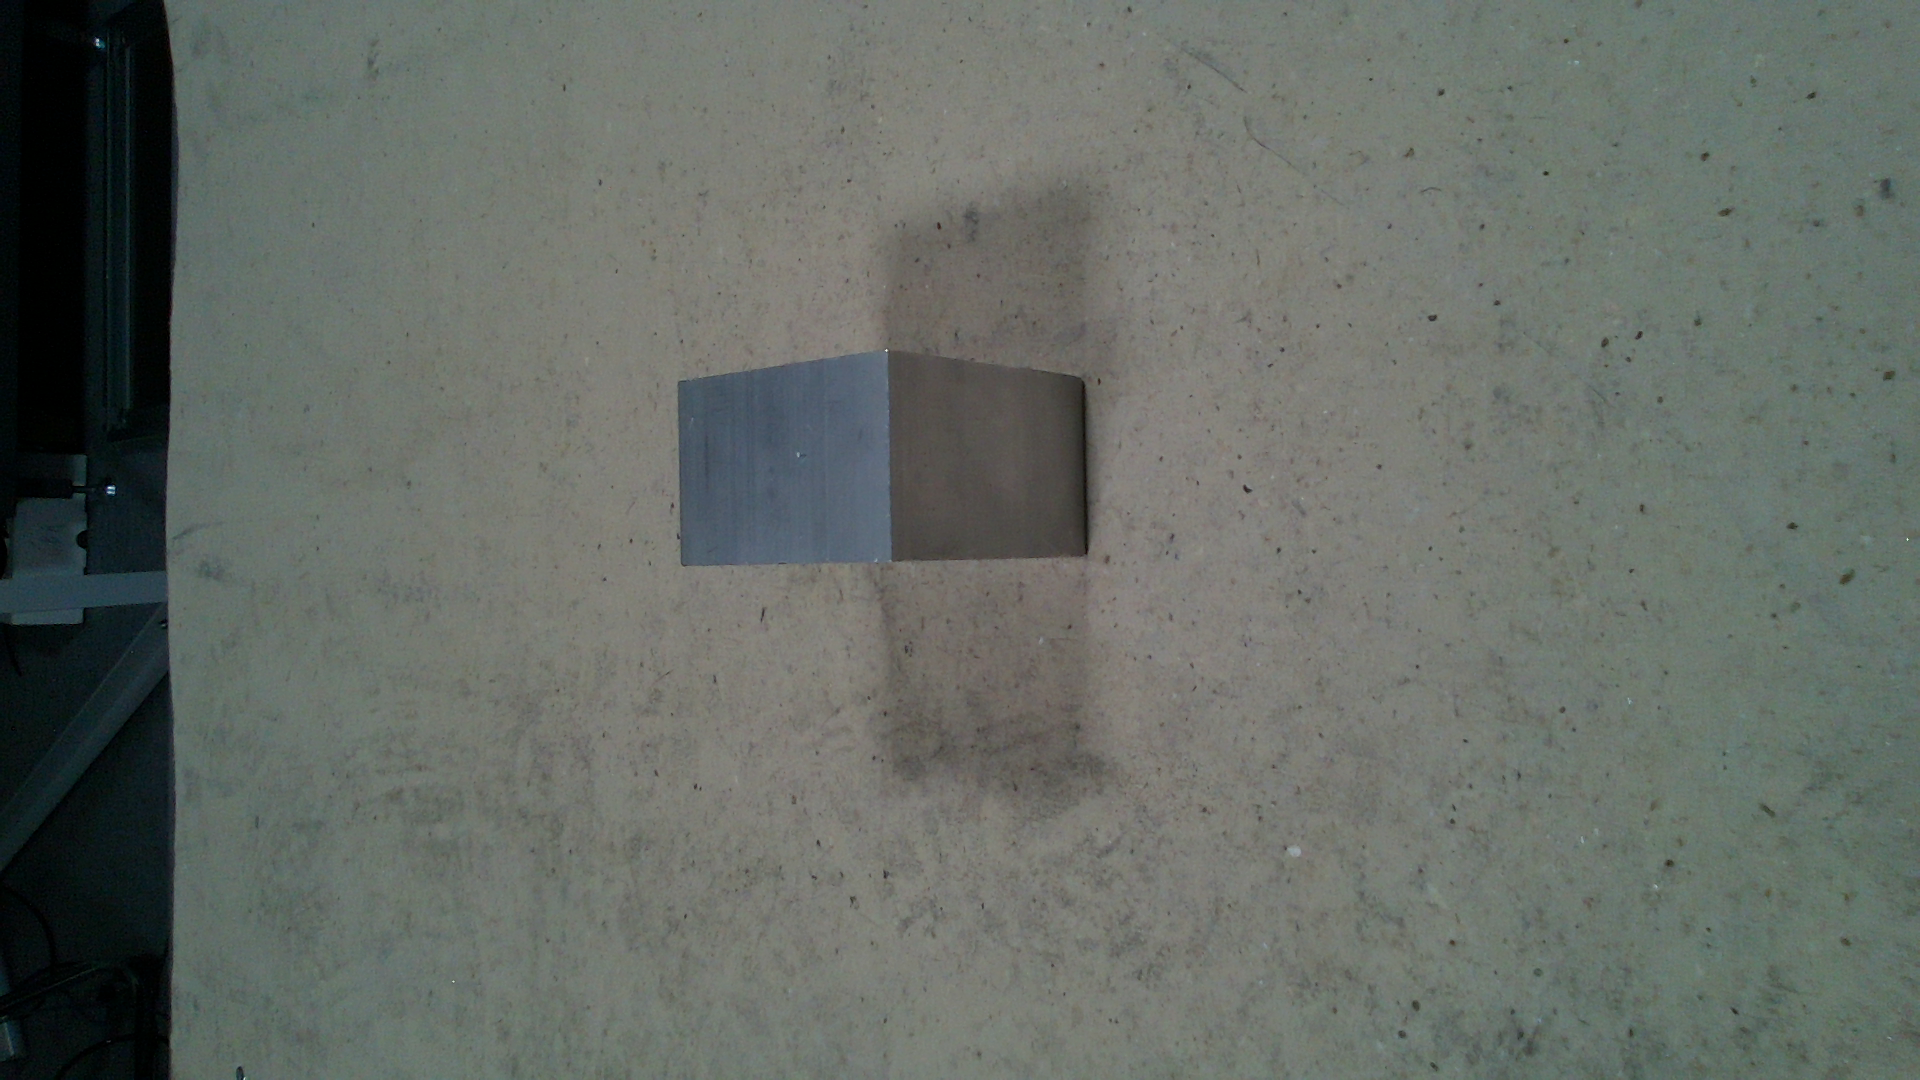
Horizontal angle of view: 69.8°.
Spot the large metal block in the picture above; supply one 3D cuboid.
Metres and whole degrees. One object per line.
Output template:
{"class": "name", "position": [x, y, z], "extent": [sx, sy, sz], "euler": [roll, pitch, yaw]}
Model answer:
{"class": "large metal block", "position": [-0.021, -0.019, 0.377], "extent": [0.080, 0.080, 0.050], "euler": [-2, 89, 40]}
